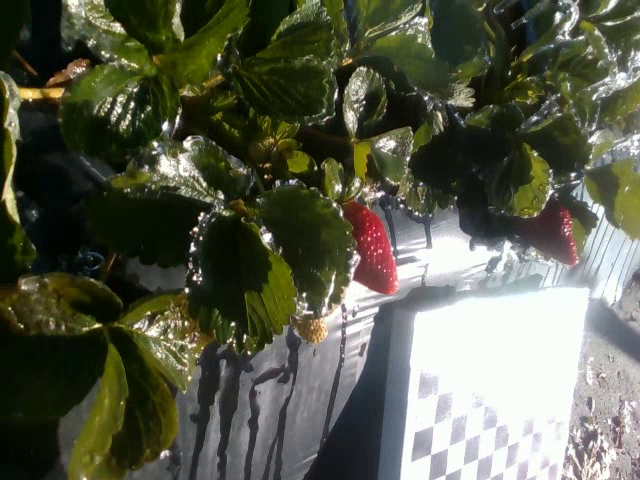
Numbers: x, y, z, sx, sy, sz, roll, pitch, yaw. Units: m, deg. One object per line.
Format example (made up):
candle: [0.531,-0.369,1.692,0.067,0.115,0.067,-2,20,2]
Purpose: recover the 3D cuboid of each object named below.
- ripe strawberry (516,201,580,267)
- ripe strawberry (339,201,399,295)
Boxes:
ripe strawberry: [0.196,-0.005,0.493,0.048,0.061,0.044,-10,-16,-42]
ripe strawberry: [0.026,0.010,0.341,0.042,0.061,0.046,-19,-19,-40]
